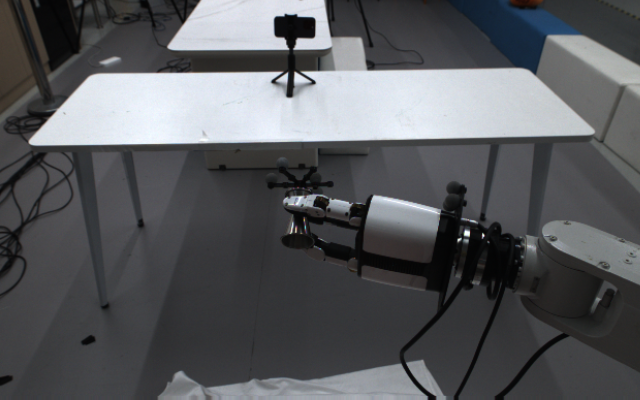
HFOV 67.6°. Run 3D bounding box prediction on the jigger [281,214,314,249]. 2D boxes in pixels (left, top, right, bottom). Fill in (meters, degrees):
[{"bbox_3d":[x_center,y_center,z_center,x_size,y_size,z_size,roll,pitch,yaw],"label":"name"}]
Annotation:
[{"bbox_3d":[-0.027,0.020,0.619,0.043,0.043,0.071,2,59,0],"label":"jigger"}]
